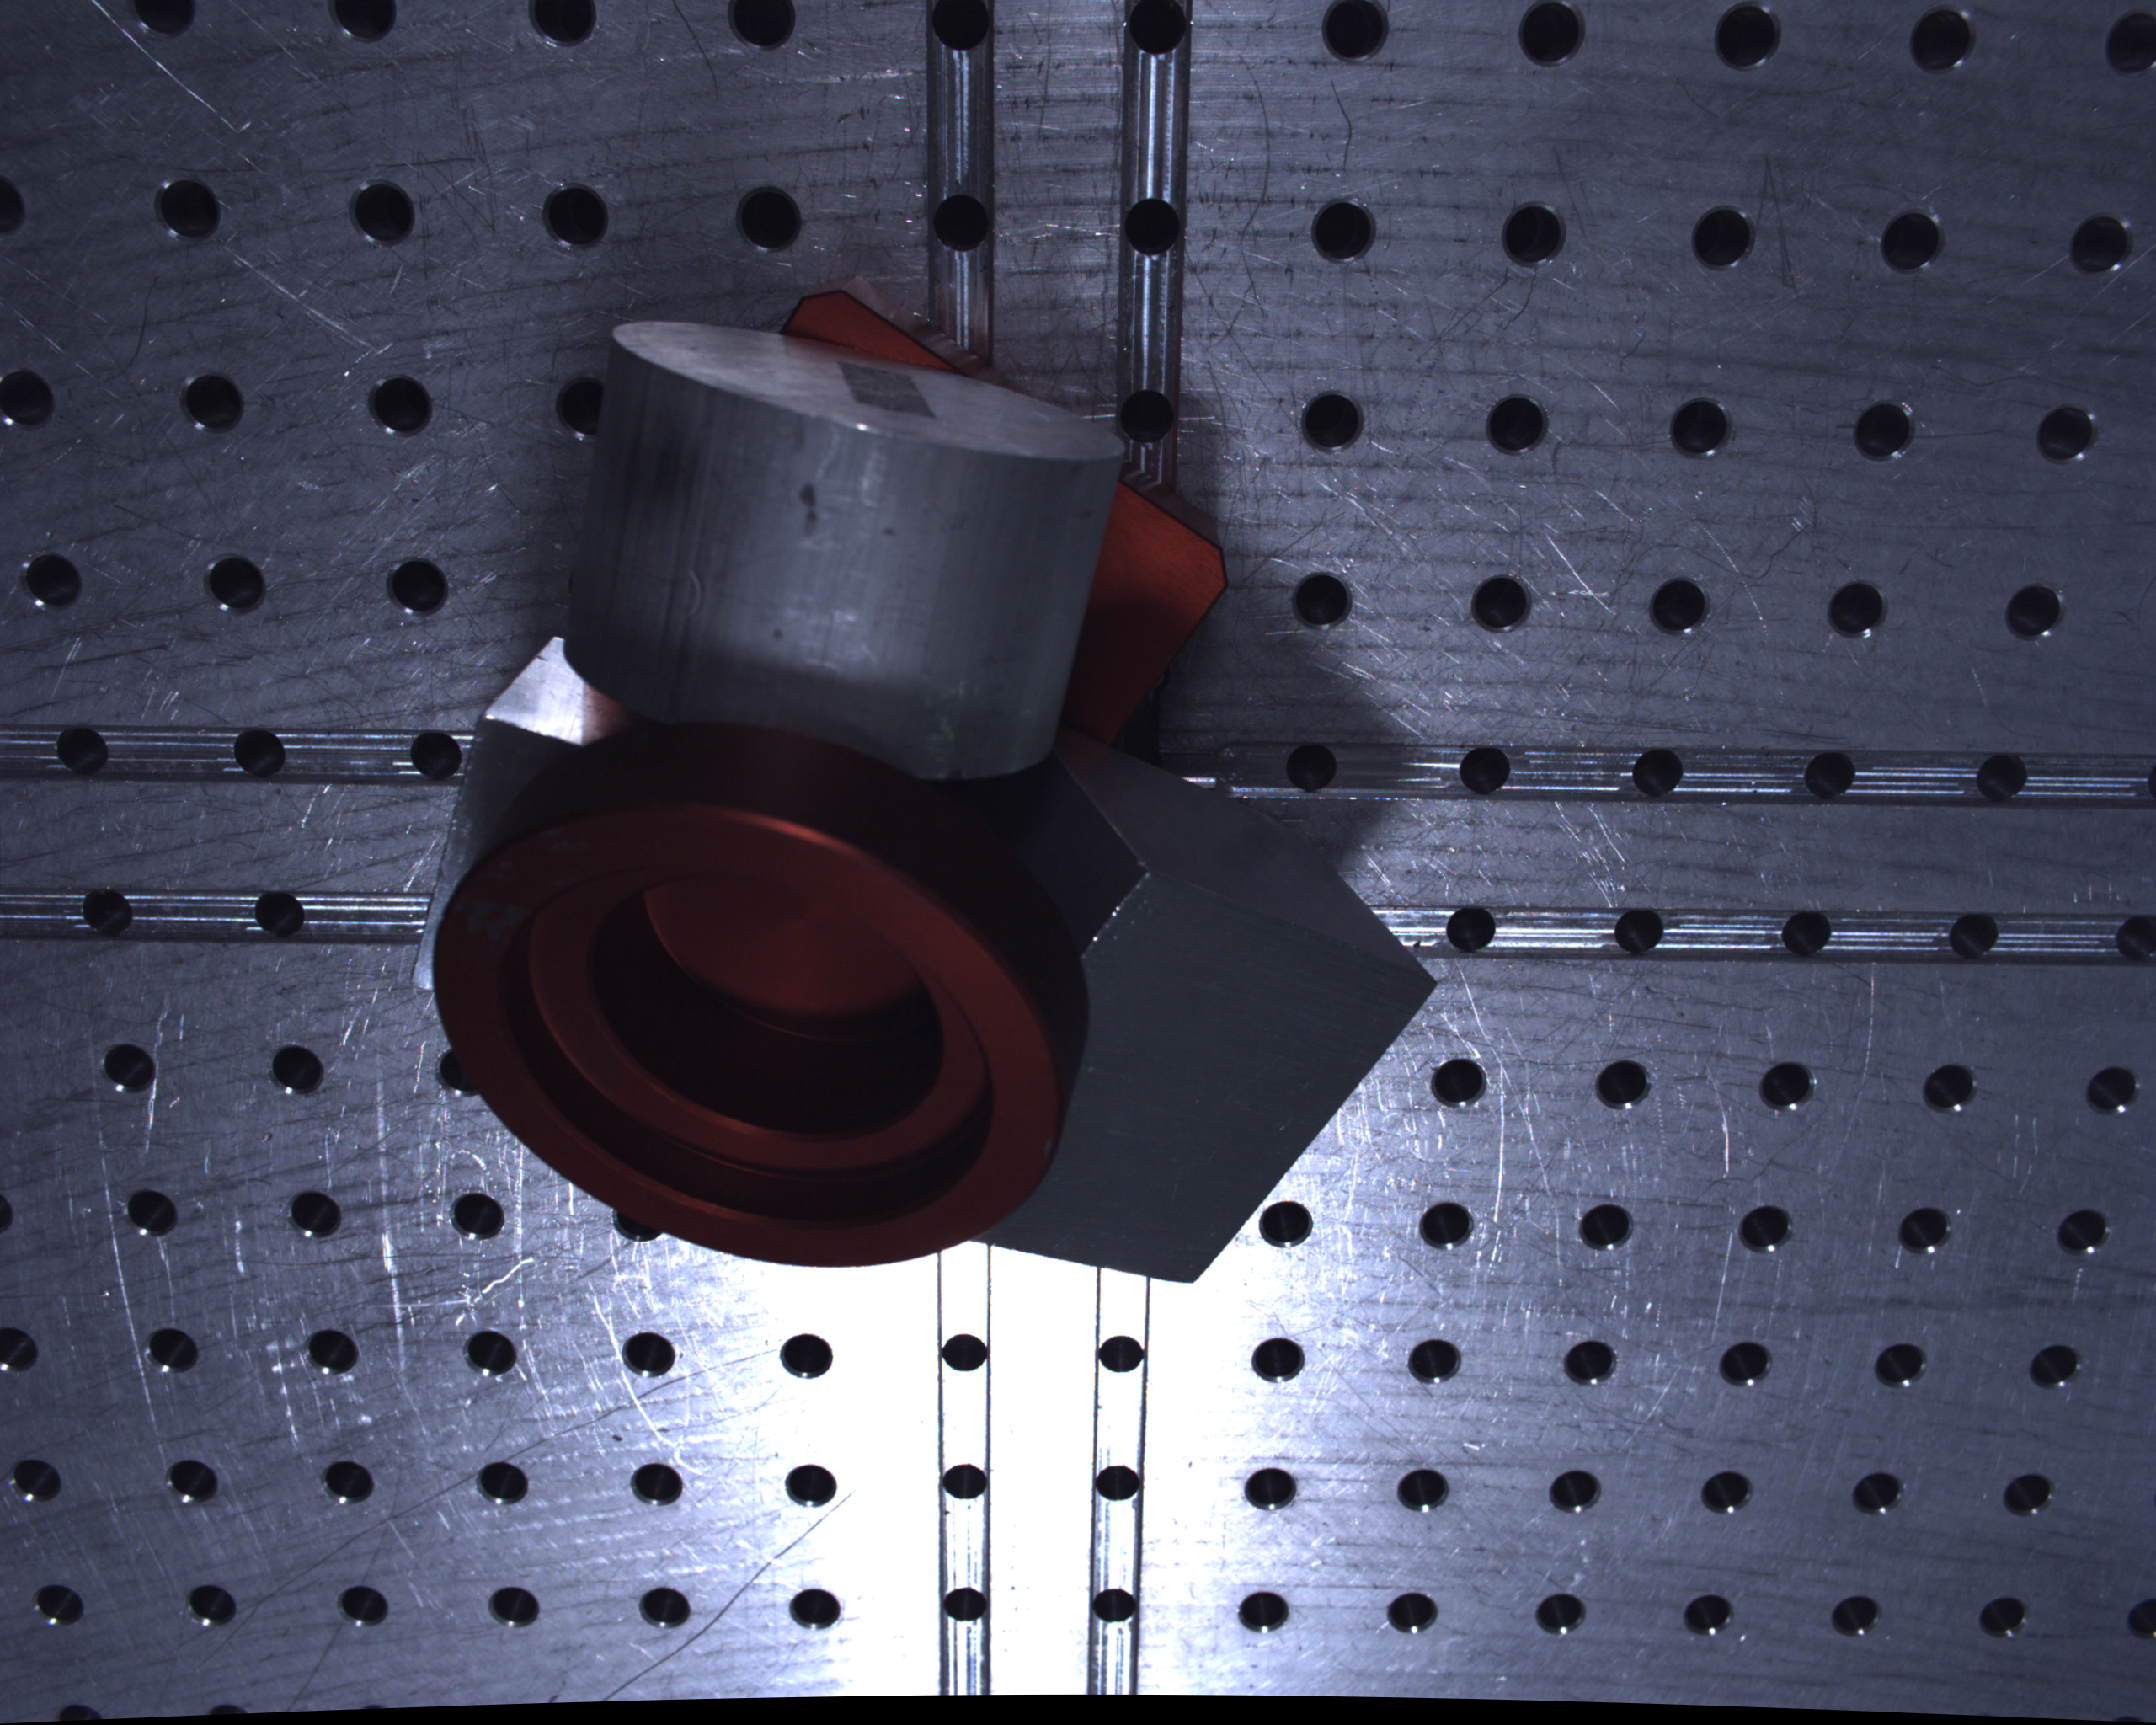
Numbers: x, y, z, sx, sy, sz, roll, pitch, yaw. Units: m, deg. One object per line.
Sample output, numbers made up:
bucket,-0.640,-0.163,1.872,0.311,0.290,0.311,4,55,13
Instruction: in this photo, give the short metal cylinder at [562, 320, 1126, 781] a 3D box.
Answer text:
short metal cylinder,-0.037,-0.051,0.332,0.081,0.080,0.050,13,110,-5

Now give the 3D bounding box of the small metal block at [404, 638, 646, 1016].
small metal block,-0.092,-0.006,0.363,0.025,0.050,0.050,18,109,-7

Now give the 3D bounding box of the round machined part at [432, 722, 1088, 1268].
round machined part,-0.047,0.017,0.330,0.098,0.042,0.097,7,131,8

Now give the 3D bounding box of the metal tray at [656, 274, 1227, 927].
metal tray,-0.045,-0.033,0.398,0.090,0.030,0.129,33,106,-12

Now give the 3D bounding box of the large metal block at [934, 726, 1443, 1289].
large metal block,0.006,0.028,0.391,0.080,0.050,0.080,21,112,-41
